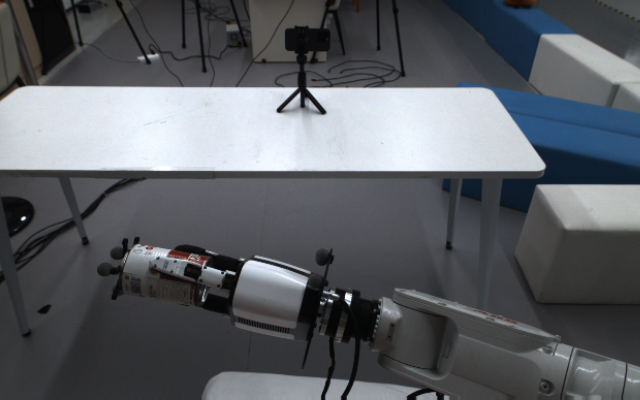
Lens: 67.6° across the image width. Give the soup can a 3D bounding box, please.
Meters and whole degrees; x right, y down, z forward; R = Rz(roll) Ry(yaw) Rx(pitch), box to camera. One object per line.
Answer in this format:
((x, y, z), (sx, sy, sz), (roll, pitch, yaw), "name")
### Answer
((-0.195, 0.100, 0.629), (0.101, 0.067, 0.067), (10, 35, -1), "soup can")
